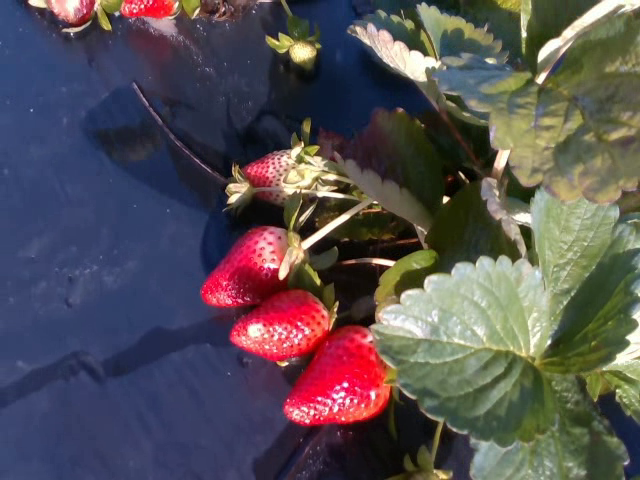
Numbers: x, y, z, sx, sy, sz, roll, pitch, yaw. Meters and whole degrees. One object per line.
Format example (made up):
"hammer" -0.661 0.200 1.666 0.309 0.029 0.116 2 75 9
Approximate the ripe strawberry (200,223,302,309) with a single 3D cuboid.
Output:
"ripe strawberry" -0.029 0.011 0.236 0.046 0.031 0.023 -33 -25 -4

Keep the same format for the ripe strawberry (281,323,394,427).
"ripe strawberry" 0.001 0.053 0.210 0.041 0.035 0.033 -18 -33 -38

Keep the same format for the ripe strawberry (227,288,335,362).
"ripe strawberry" -0.015 0.031 0.218 0.039 0.030 0.037 0 -33 -45
